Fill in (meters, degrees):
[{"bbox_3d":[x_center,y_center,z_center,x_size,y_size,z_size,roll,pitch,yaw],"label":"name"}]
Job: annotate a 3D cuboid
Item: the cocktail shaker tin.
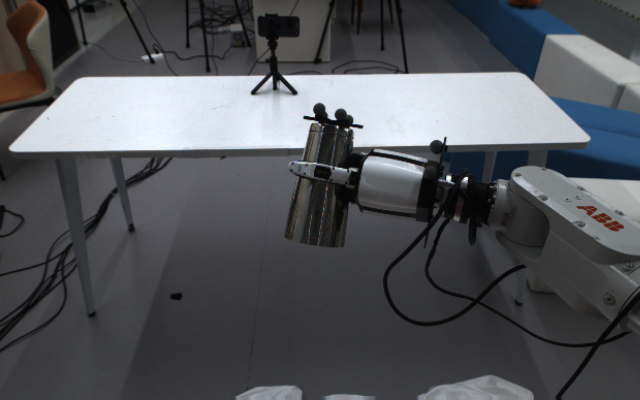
[{"bbox_3d":[0.005,-0.023,0.715,0.093,0.170,0.093,9,3,0],"label":"cocktail shaker tin"}]
